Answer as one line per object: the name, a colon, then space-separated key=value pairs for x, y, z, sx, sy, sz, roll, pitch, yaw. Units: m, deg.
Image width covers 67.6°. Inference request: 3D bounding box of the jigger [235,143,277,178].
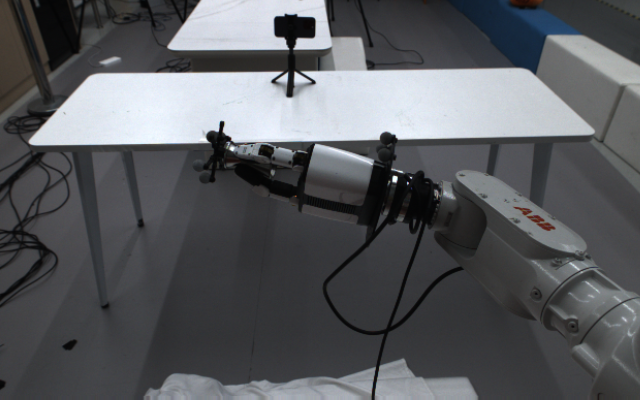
jigger: x=-0.090 y=-0.059 z=0.681 sx=0.071 sy=0.043 sz=0.043 roll=13 pitch=36 yaw=4
